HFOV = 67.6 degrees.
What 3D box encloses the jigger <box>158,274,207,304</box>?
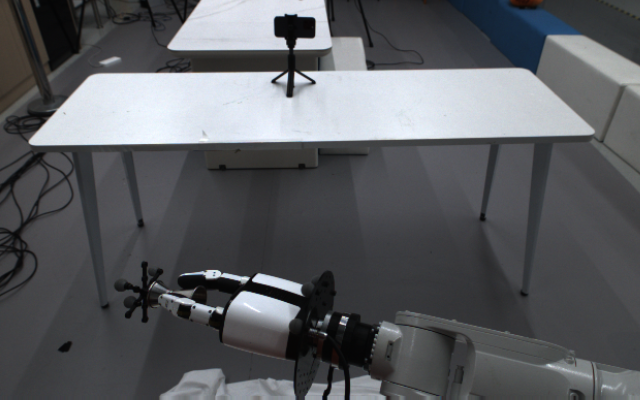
[{"bbox_3d":[-0.187,0.129,0.662,0.071,0.043,0.043,5,34,16],"label":"jigger"}]
